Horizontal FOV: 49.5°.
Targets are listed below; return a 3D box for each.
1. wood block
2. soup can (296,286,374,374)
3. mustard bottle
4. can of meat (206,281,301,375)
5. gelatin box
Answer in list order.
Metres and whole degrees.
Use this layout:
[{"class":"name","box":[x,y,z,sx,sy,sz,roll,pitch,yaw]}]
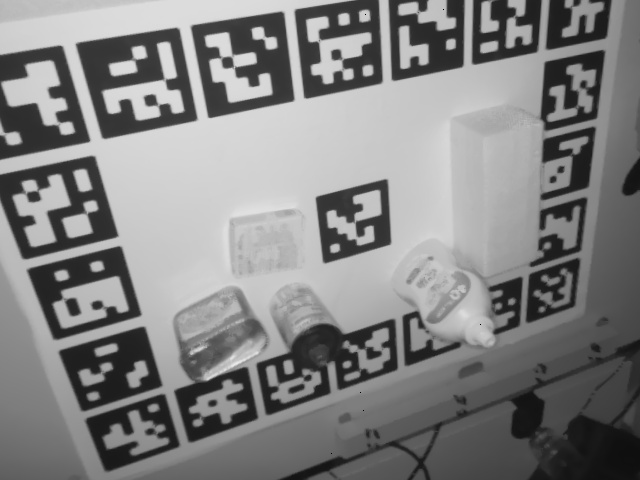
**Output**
[{"class":"wood block","box":[0.277,-0.066,0.893,0.092,0.090,0.204,-13,123,-13]},{"class":"soup can","box":[0.017,0.108,0.856,0.068,0.102,0.067,-9,117,-18]},{"class":"mustard bottle","box":[0.209,0.069,0.878,0.096,0.191,0.058,-35,123,0]},{"class":"can of meat","box":[-0.084,0.103,0.835,0.102,0.083,0.057,-25,121,-5]},{"class":"gelatin box","box":[-0.027,-0.006,0.829,0.090,0.030,0.072,-6,115,-22]}]
